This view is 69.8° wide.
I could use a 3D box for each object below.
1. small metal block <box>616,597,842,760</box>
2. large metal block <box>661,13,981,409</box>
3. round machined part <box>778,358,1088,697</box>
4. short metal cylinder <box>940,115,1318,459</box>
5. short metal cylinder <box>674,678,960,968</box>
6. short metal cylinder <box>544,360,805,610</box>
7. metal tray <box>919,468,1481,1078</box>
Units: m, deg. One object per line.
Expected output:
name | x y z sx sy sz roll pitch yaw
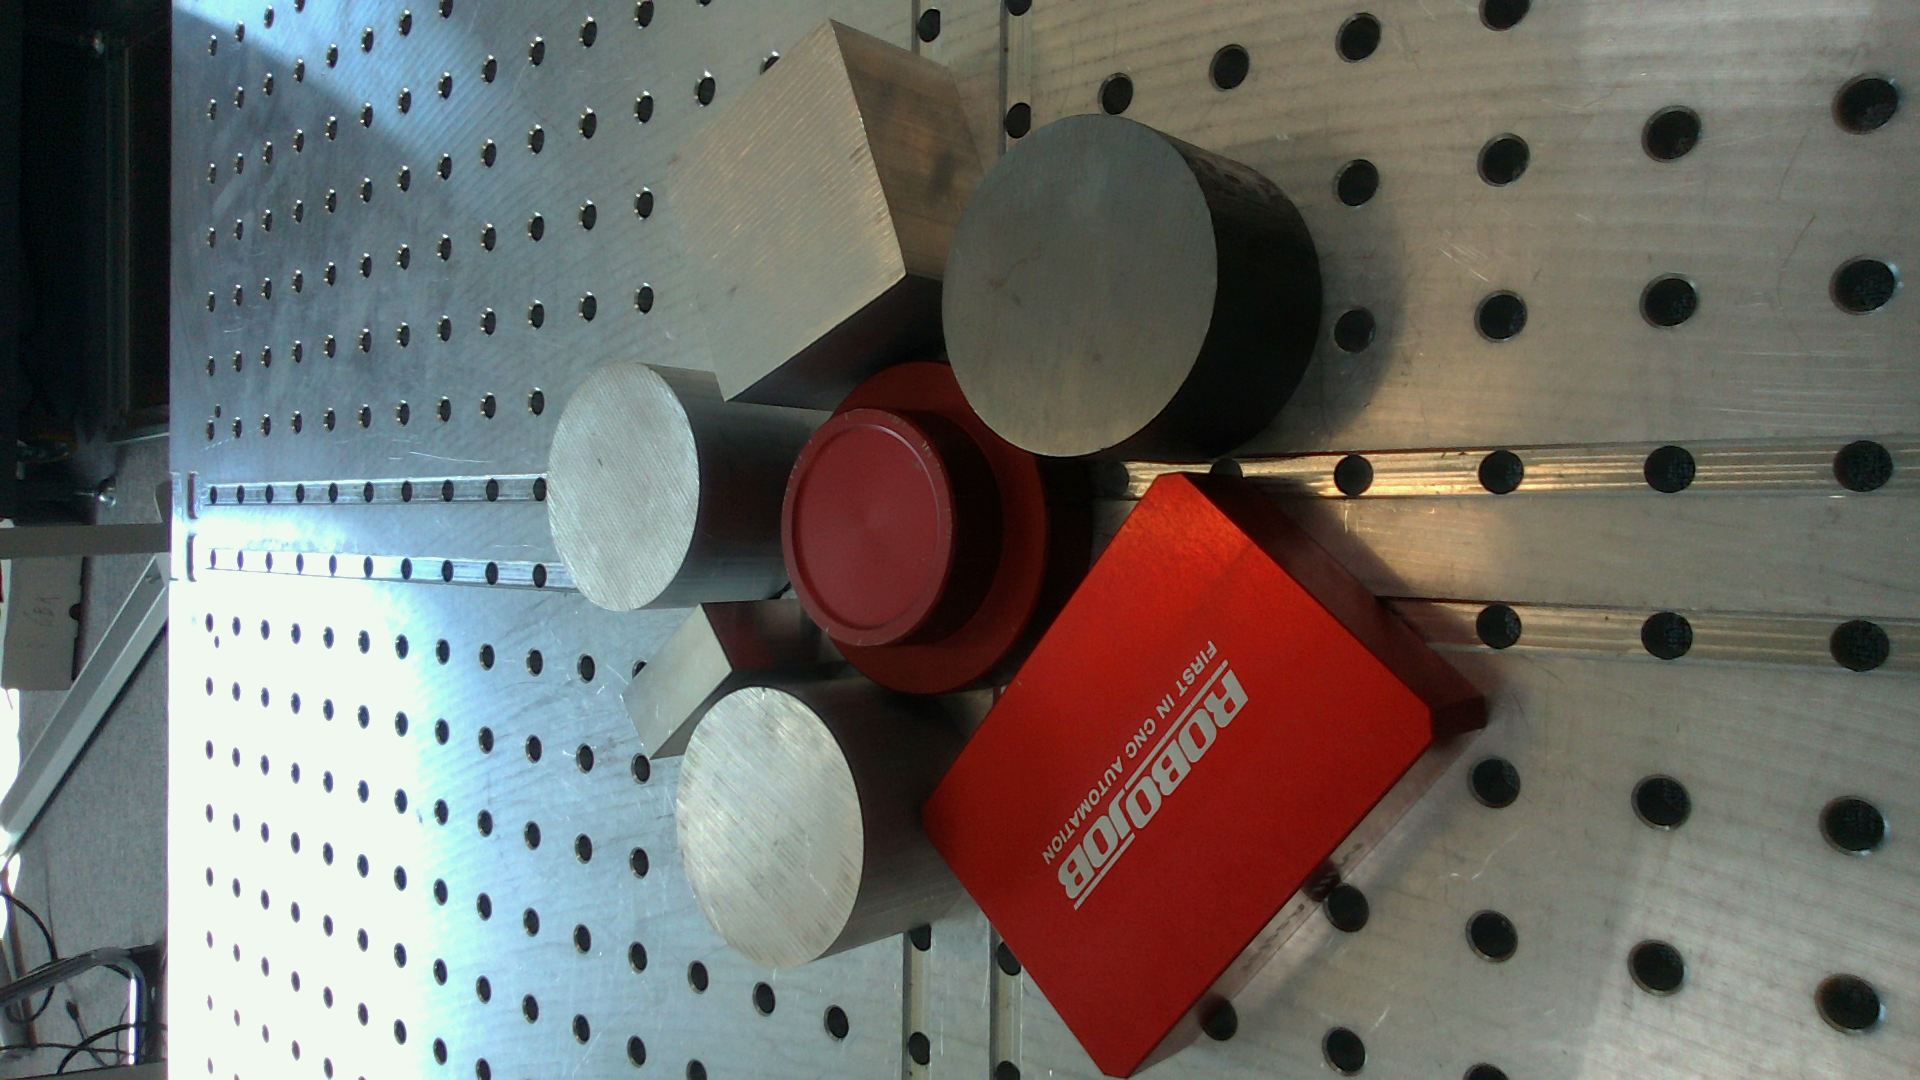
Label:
small metal block | -0.073 0.044 0.442 0.050 0.050 0.025 -45 63 31
large metal block | -0.037 -0.093 0.413 0.080 0.050 0.080 -27 73 37
round machined part | -0.015 -0.004 0.398 0.098 0.042 0.098 0 90 40
short metal cylinder | 0.042 -0.060 0.346 0.080 0.050 0.080 0 90 40
short metal cylinder | -0.041 0.082 0.416 0.080 0.050 0.080 0 90 40
short metal cylinder | -0.094 -0.018 0.460 0.080 0.050 0.080 0 90 40
metal tray | 0.054 0.058 0.348 0.090 0.030 0.130 48 118 30
